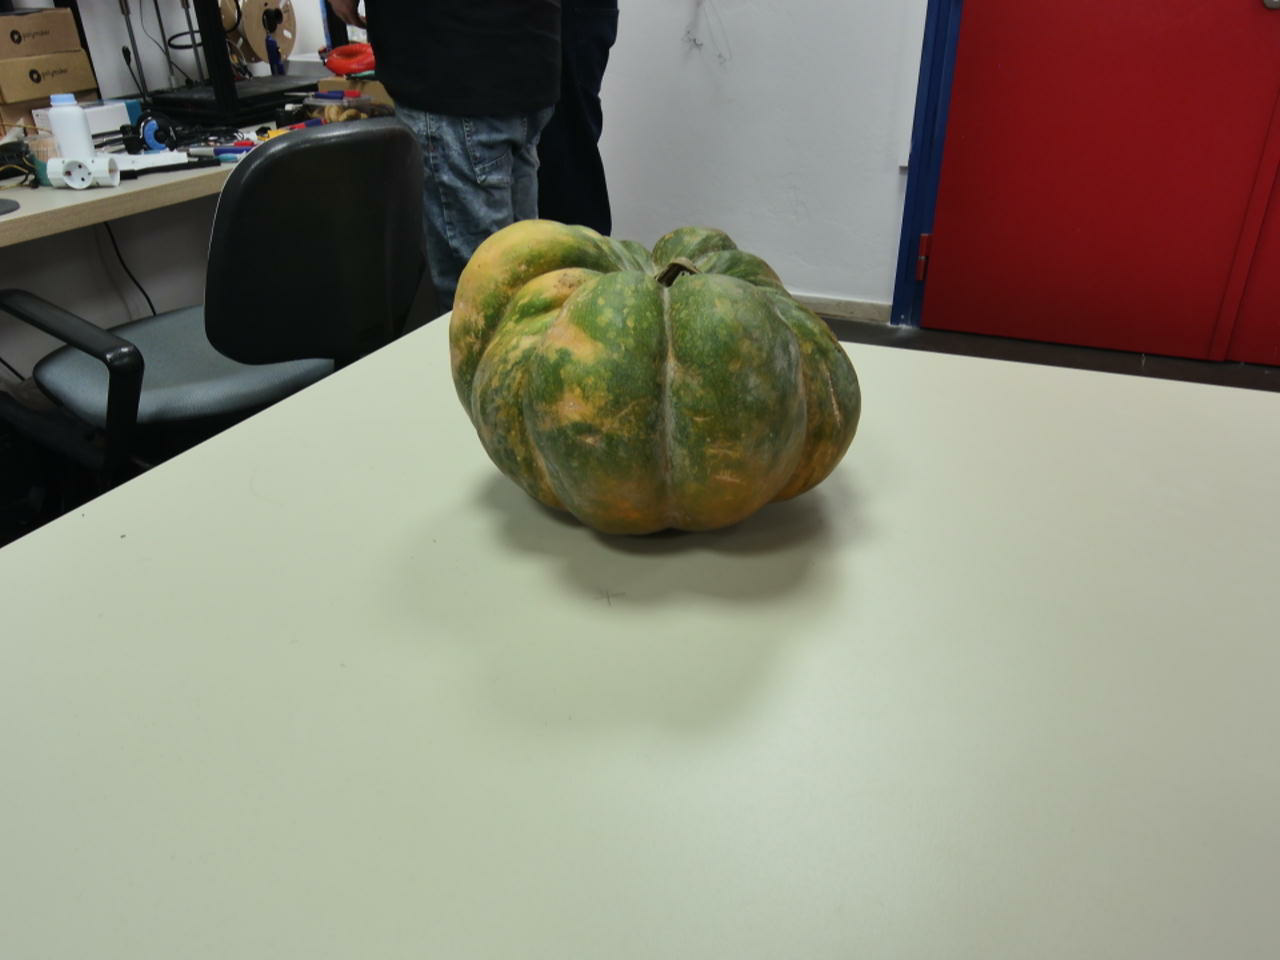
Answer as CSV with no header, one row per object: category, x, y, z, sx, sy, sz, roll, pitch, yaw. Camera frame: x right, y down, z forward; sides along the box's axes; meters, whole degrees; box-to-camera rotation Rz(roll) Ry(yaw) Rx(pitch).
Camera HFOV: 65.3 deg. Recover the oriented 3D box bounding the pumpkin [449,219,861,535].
pumpkin,0.008,-0.071,0.622,0.237,0.173,0.270,-13,29,-26
